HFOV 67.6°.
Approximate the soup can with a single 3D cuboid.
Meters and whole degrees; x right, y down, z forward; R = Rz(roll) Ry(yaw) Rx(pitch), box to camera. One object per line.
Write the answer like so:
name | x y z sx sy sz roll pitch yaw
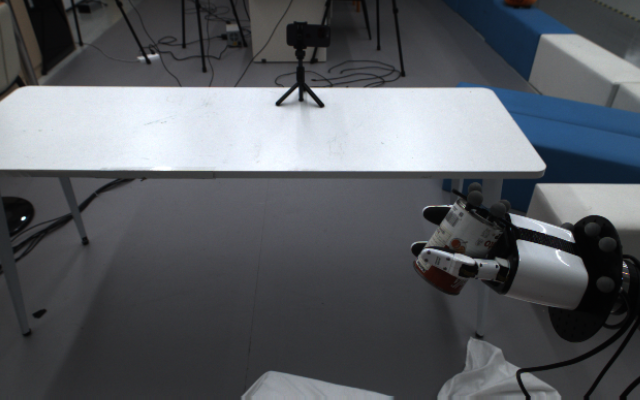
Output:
soup can | 0.172 0.056 0.597 0.067 0.101 0.067 27 18 -9
